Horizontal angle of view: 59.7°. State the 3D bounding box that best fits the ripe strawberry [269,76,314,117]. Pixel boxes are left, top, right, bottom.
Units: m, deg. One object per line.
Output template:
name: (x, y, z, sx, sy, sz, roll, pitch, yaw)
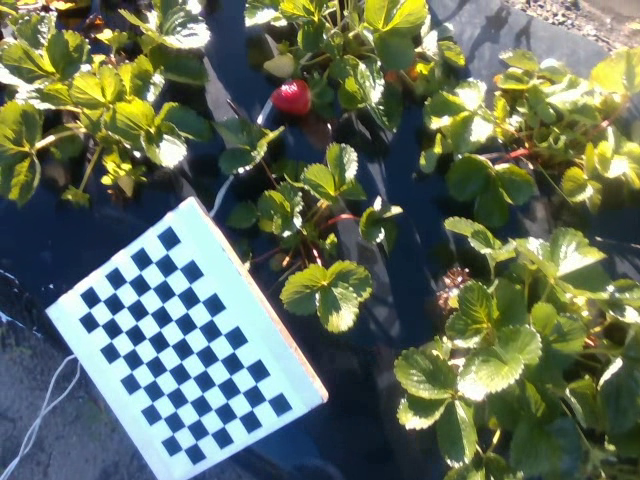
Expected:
ripe strawberry: (-0.038, -0.210, 0.816, 0.080, 0.062, 0.040, -13, 14, -25)
